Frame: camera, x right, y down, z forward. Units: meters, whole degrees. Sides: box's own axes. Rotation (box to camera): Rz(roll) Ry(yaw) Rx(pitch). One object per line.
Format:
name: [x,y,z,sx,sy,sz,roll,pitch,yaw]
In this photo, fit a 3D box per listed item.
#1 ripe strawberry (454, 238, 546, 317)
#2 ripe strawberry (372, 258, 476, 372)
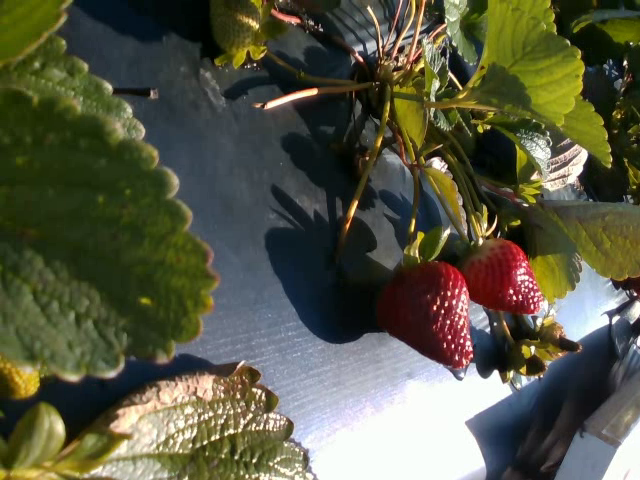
ripe strawberry: [0.096,0.021,0.300,0.049,0.042,0.039,43,-15,10]
ripe strawberry: [0.049,0.034,0.245,0.045,0.050,0.051,-43,-30,19]
